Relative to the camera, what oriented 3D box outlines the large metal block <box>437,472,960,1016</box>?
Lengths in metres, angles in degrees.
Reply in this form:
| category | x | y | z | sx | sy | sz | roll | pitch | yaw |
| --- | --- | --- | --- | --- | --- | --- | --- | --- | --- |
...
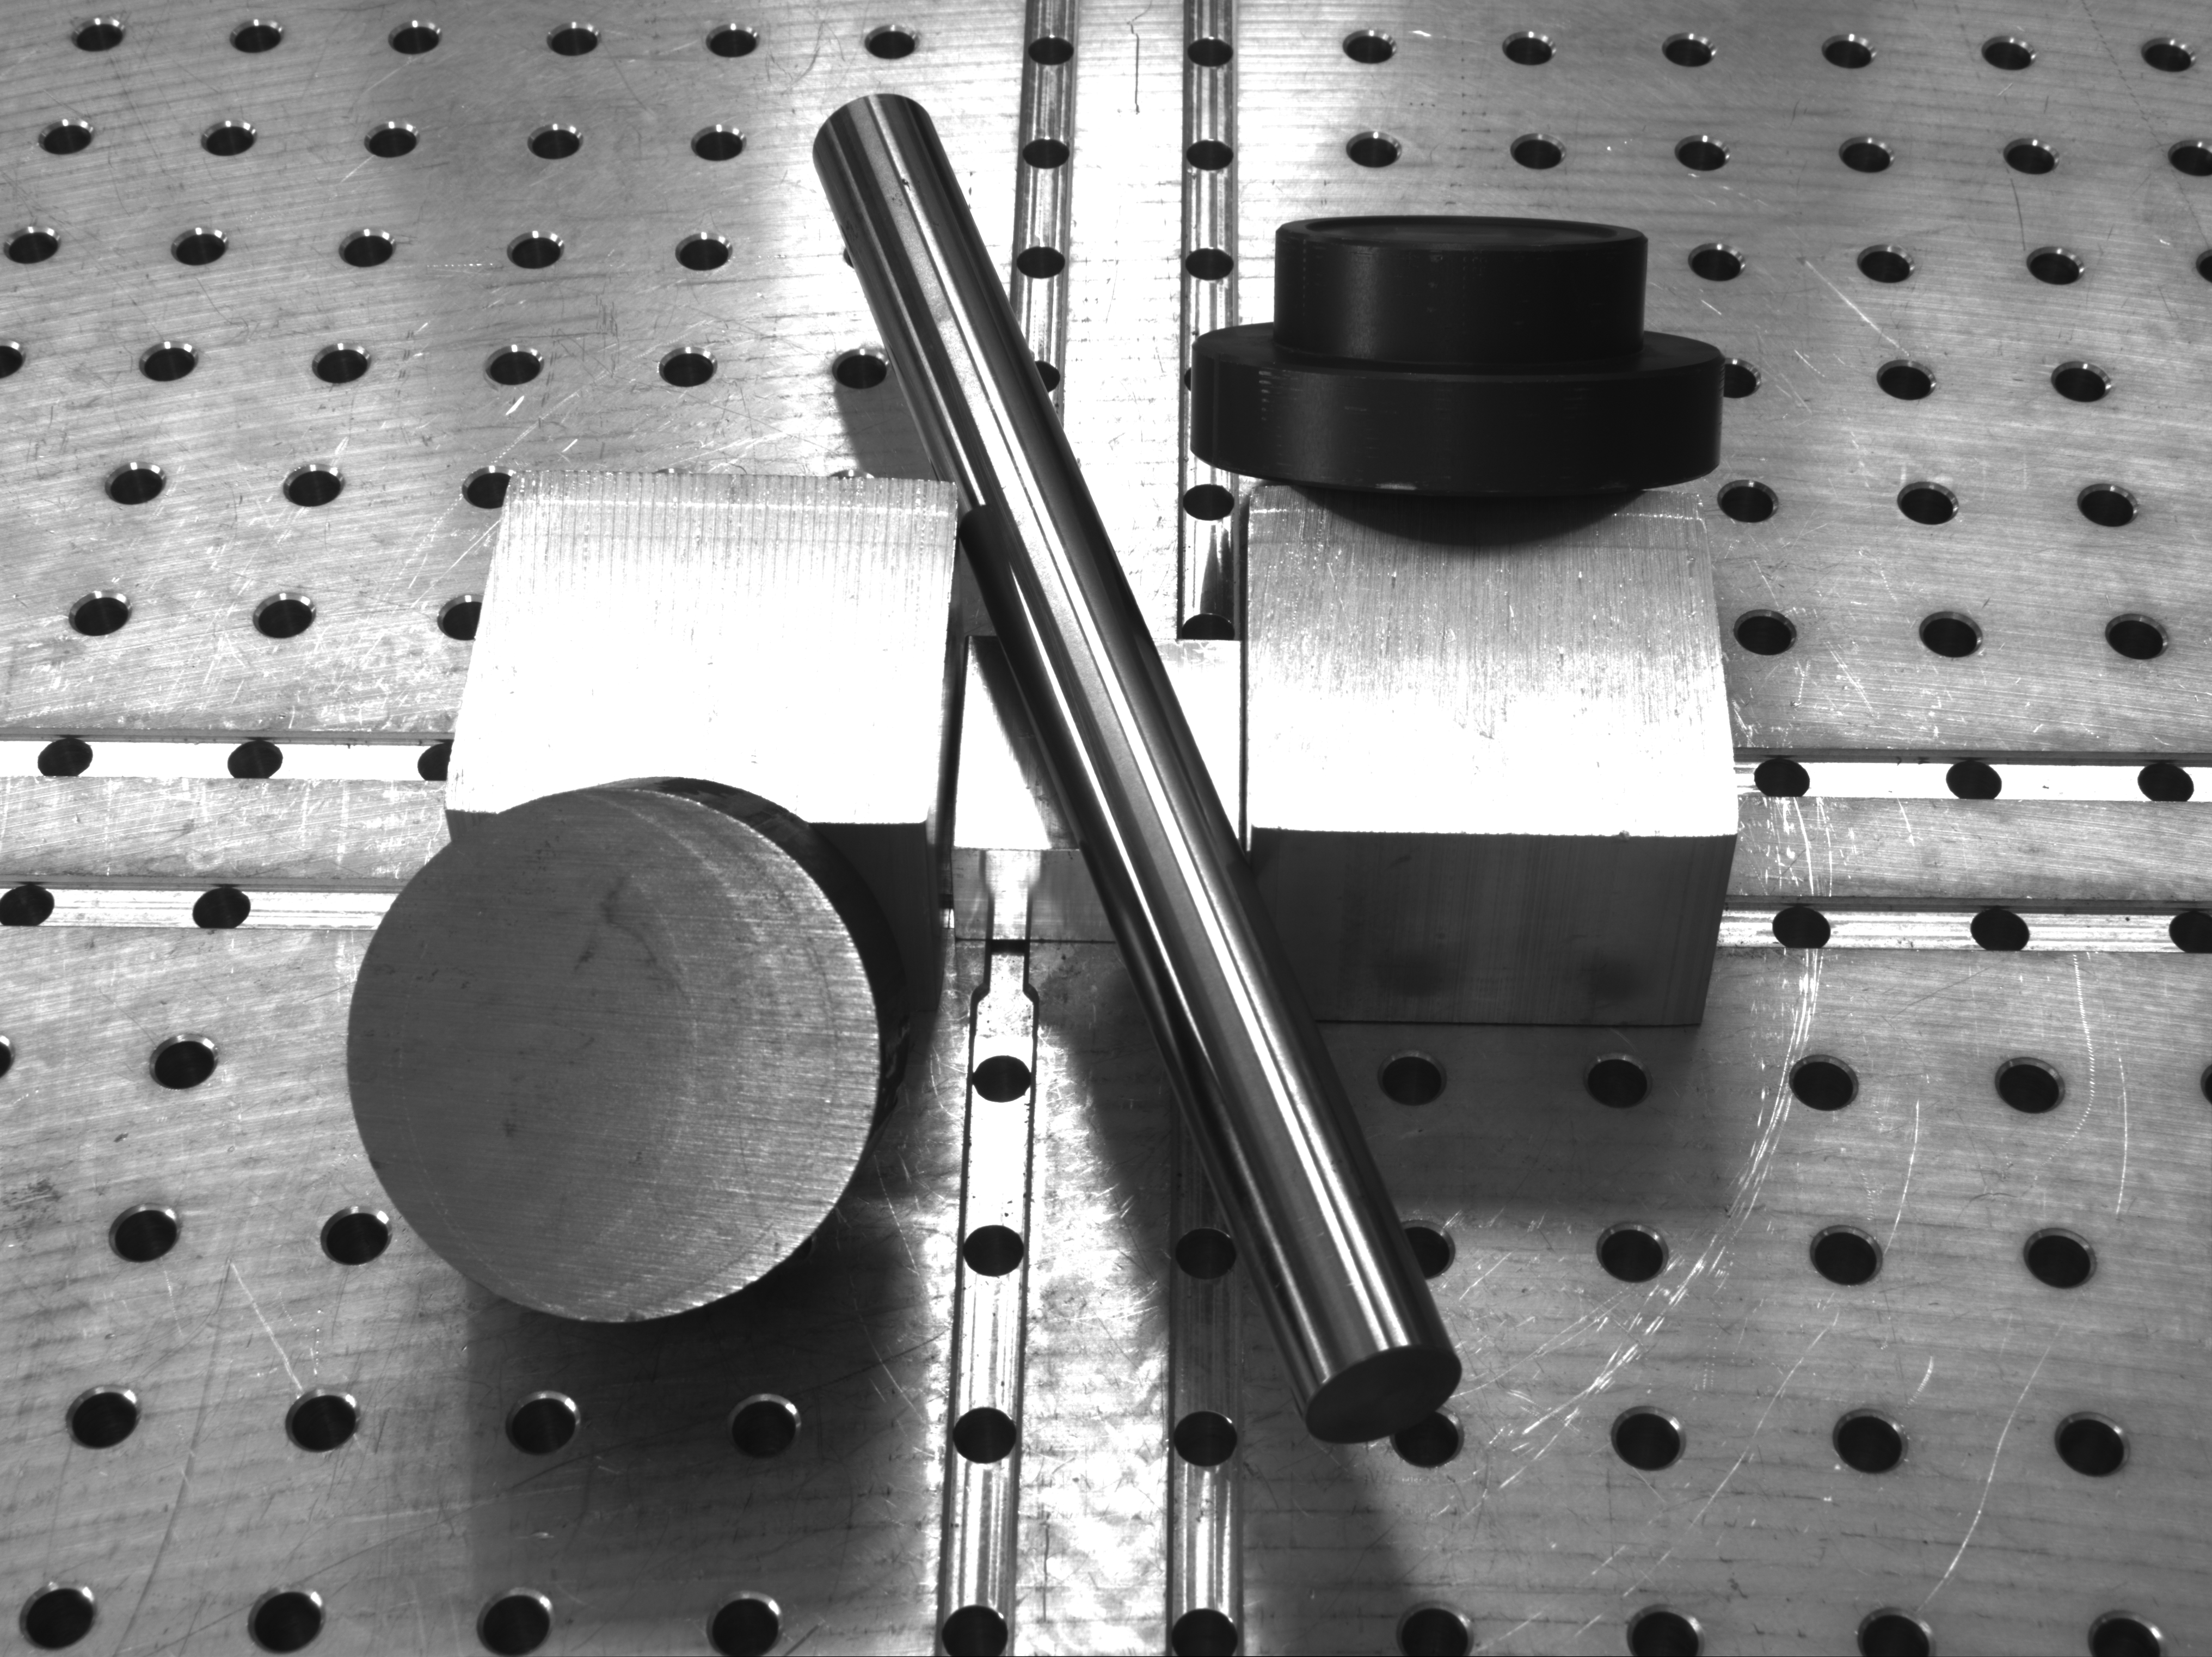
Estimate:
| category | x | y | z | sx | sy | sz | roll | pitch | yaw |
| --- | --- | --- | --- | --- | --- | --- | --- | --- | --- |
| large metal block | -0.067 | -0.015 | 0.643 | 0.080 | 0.050 | 0.080 | 2 | 50 | 2 |

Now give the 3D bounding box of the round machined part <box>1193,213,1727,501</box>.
| category | x | y | z | sx | sy | sz | roll | pitch | yaw |
| --- | --- | --- | --- | --- | --- | --- | --- | --- | --- |
| round machined part | 0.065 | -0.089 | 0.678 | 0.098 | 0.042 | 0.098 | 0 | 15 | 0 |

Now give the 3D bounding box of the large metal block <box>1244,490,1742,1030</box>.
| category | x | y | z | sx | sy | sz | roll | pitch | yaw |
| --- | --- | --- | --- | --- | --- | --- | --- | --- | --- |
| large metal block | 0.064 | -0.013 | 0.641 | 0.080 | 0.050 | 0.080 | 1 | 50 | 1 |

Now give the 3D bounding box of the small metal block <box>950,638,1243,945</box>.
| category | x | y | z | sx | sy | sz | roll | pitch | yaw |
| --- | --- | --- | --- | --- | --- | --- | --- | --- | --- |
| small metal block | -0.001 | -0.007 | 0.652 | 0.050 | 0.025 | 0.050 | 1 | 50 | 1 |

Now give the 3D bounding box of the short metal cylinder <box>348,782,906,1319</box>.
| category | x | y | z | sx | sy | sz | roll | pitch | yaw |
| --- | --- | --- | --- | --- | --- | --- | --- | --- | --- |
| short metal cylinder | -0.073 | 0.033 | 0.574 | 0.080 | 0.050 | 0.080 | 0 | 93 | 2 |

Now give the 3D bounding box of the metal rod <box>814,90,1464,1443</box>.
| category | x | y | z | sx | sy | sz | roll | pitch | yaw |
| --- | --- | --- | --- | --- | --- | --- | --- | --- | --- |
| metal rod | -0.002 | -0.026 | 0.634 | 0.025 | 0.025 | 0.300 | -13 | 51 | -11 |
